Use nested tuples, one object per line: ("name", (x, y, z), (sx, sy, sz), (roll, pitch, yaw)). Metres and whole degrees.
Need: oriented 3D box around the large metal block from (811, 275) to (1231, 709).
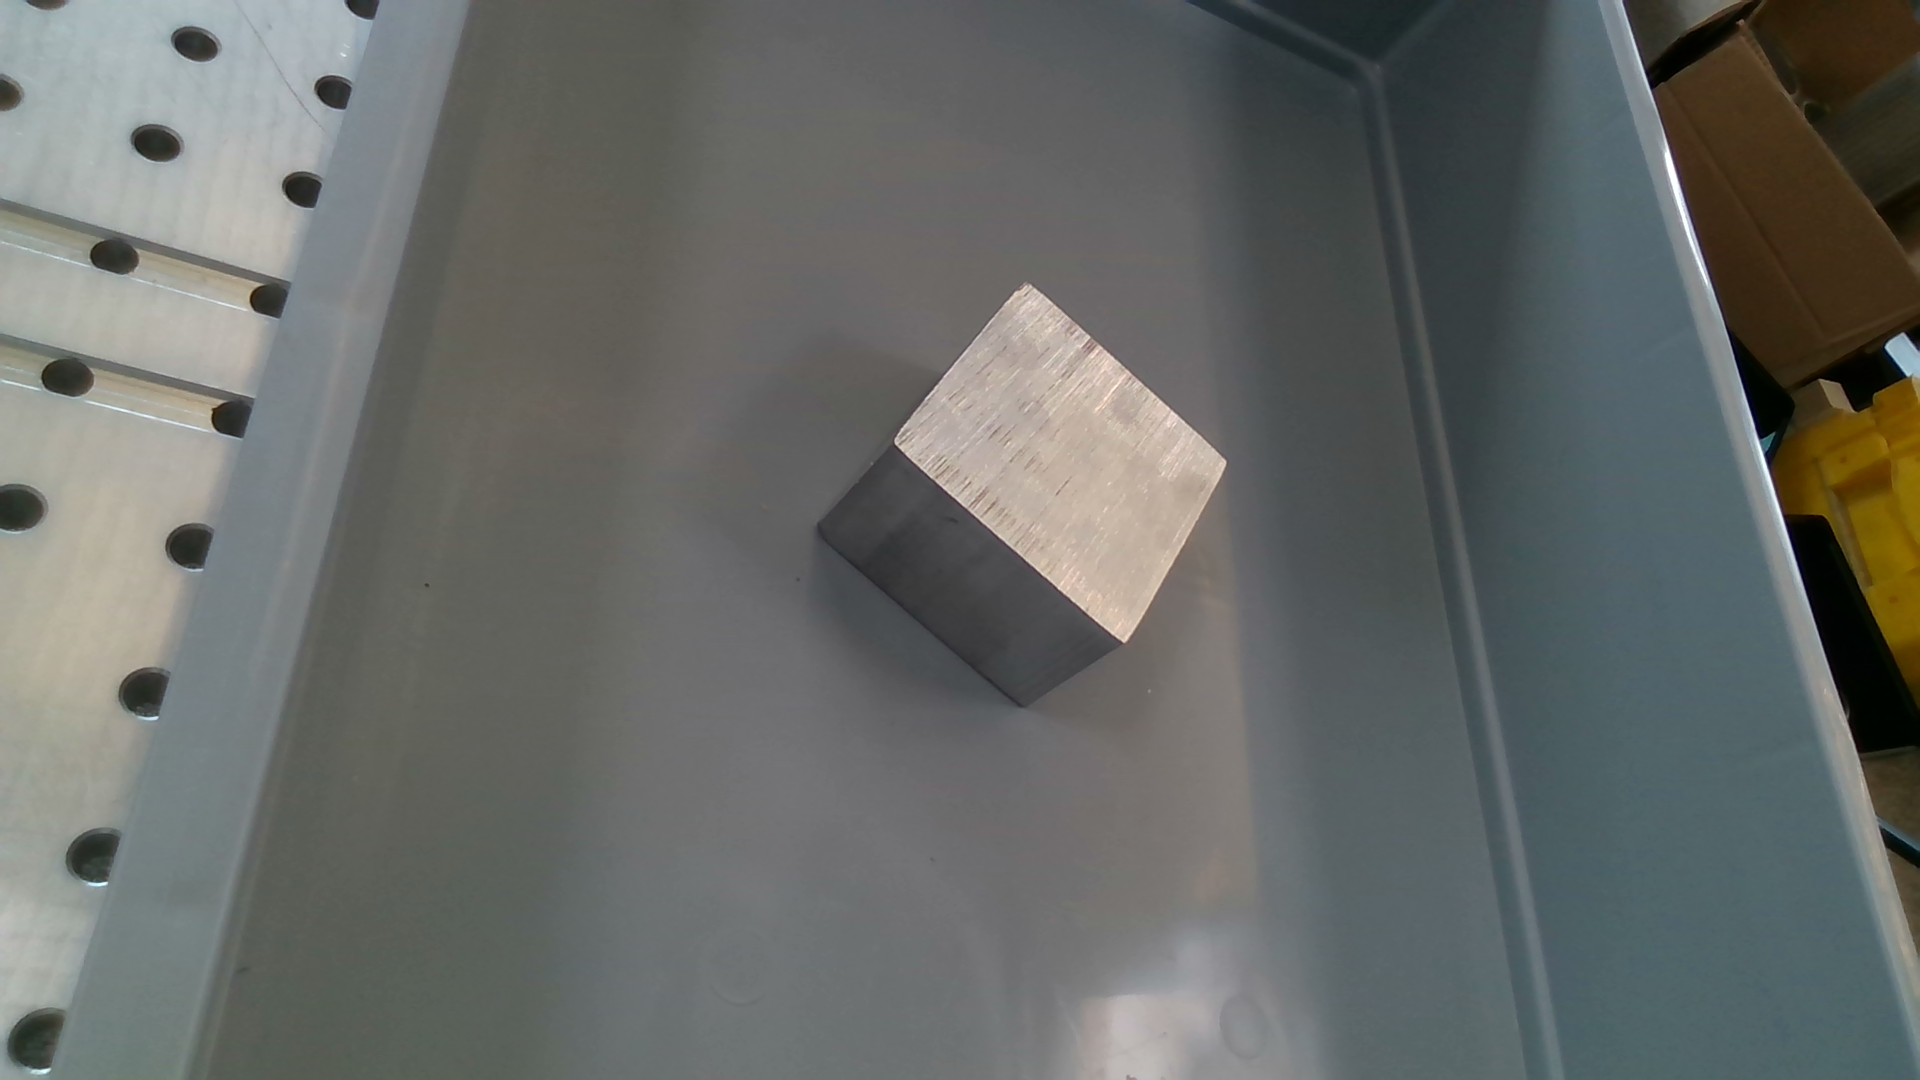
("large metal block", (0.019, -0.014, 0.392), (0.080, 0.050, 0.080), (41, 51, -7))
